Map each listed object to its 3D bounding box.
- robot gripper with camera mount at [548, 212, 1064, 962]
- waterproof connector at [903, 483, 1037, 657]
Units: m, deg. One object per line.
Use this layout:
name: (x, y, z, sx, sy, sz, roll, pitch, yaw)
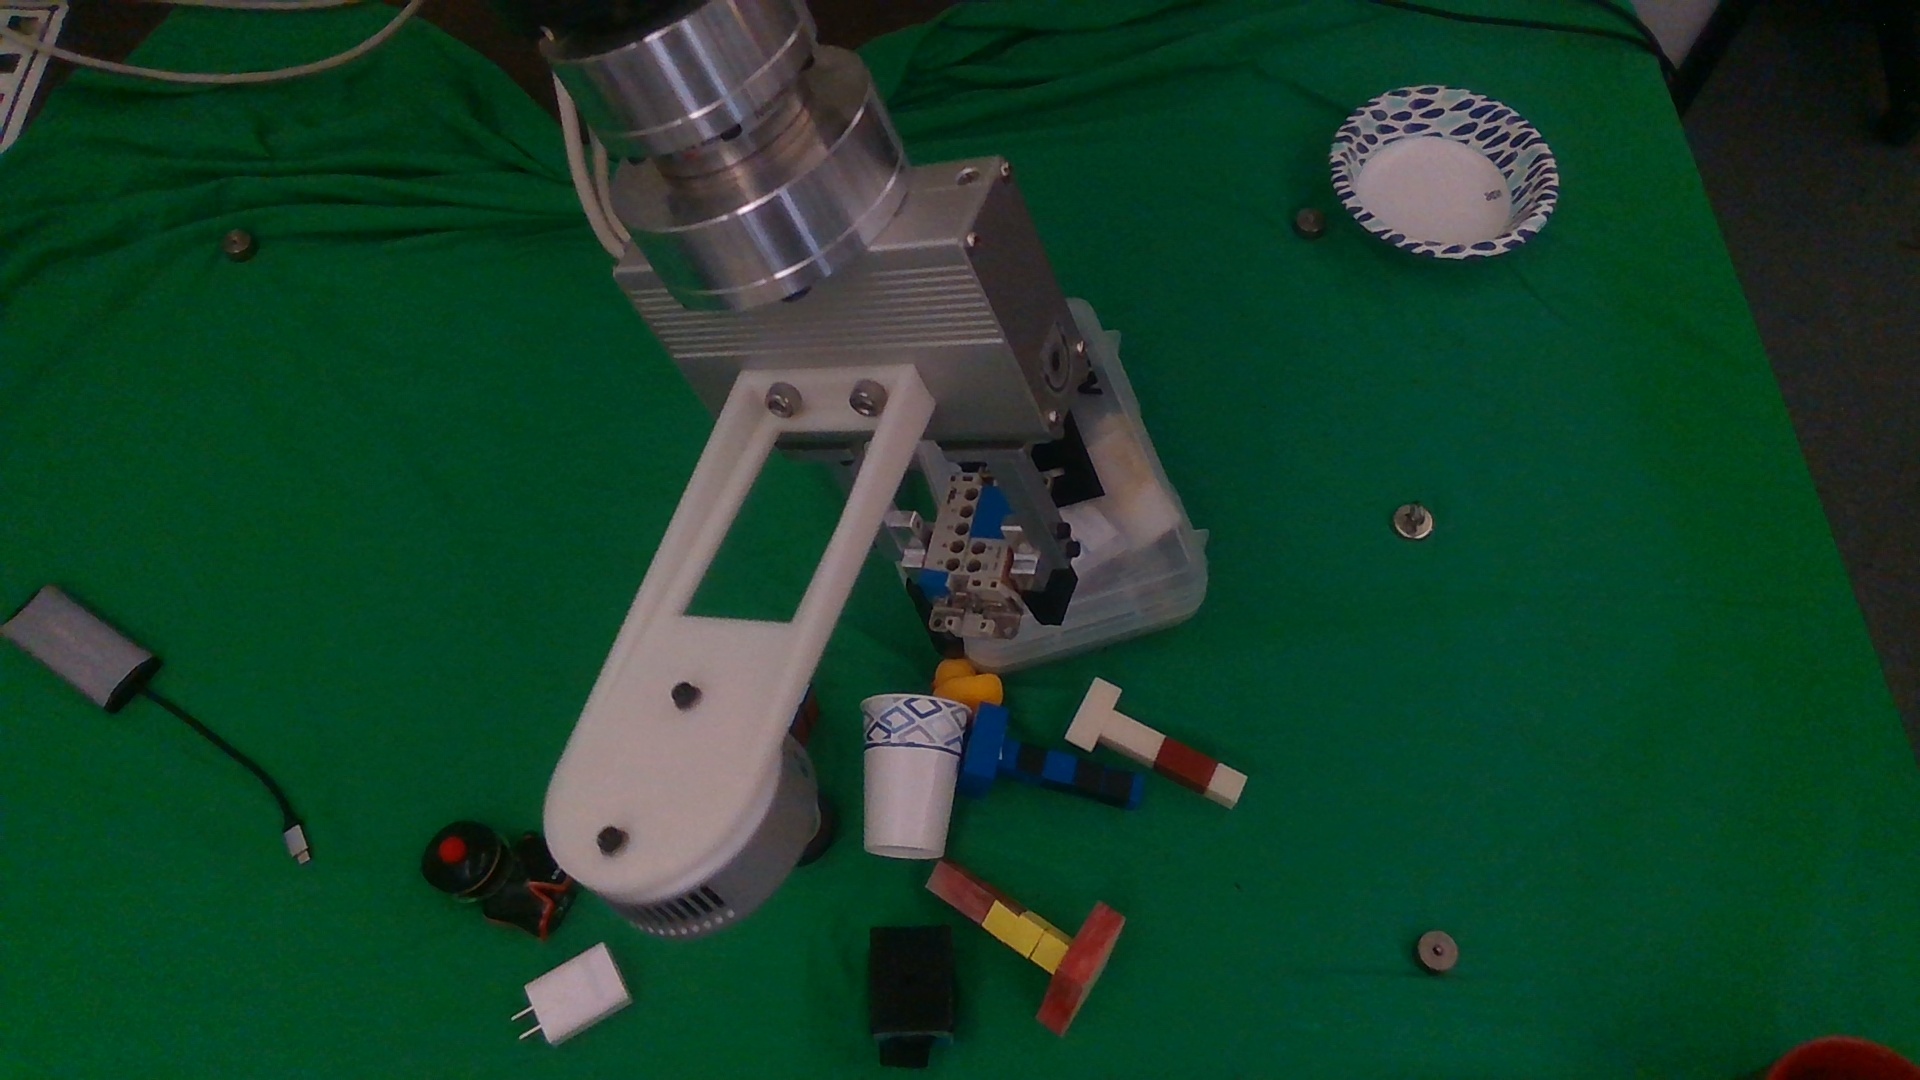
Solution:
robot gripper with camera mount: (-0.038, 0.036, 0.406, 0.119, 0.158, 0.193, -1, 54, 31)
waterproof connector: (0.005, 0.009, 0.489, 0.035, 0.037, 0.065, 1, 64, 27)
